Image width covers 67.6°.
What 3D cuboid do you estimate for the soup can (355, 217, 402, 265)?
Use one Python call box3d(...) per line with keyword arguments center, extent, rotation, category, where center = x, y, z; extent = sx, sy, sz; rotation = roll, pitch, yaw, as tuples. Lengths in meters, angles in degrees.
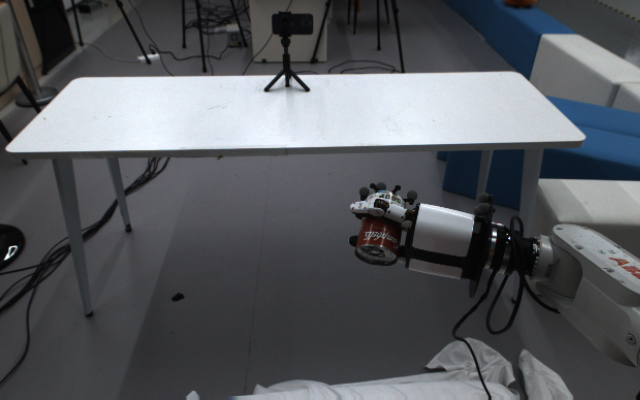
box3d(center=(0.098, 0.043, 0.765), extent=(0.067, 0.067, 0.101), rotation=(9, 58, 10), category="soup can")
